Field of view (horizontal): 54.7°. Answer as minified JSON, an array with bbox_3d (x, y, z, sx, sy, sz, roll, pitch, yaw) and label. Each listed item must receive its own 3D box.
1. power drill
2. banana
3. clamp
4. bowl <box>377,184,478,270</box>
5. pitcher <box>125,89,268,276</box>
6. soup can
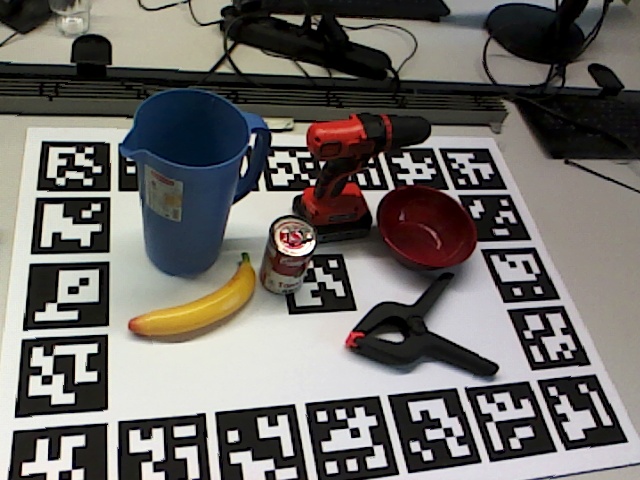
[{"bbox_3d":[0.060,-0.101,0.904,0.184,0.187,0.057,-7,56,-19],"label":"power drill"},{"bbox_3d":[-0.161,0.085,0.830,0.196,0.039,0.075,-26,55,-31],"label":"banana"},{"bbox_3d":[0.134,0.122,0.863,0.202,0.036,0.166,-5,59,-17],"label":"clamp"},{"bbox_3d":[0.160,-0.010,0.966,0.161,0.055,0.162,6,54,-9],"label":"bowl"},{"bbox_3d":[-0.159,-0.068,0.813,0.188,0.242,0.134,-25,60,-29],"label":"pitcher"},{"bbox_3d":[-0.045,0.019,0.866,0.068,0.102,0.068,6,44,-7],"label":"soup can"}]
